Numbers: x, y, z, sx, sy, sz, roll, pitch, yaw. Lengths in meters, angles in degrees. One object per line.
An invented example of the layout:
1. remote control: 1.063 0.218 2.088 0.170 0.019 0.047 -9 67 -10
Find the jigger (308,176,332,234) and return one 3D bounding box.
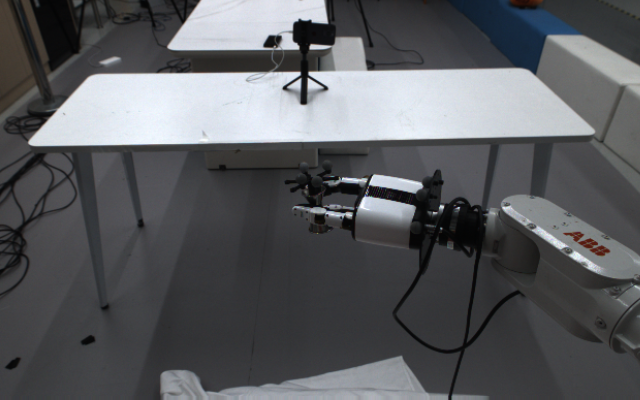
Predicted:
1. jigger: -0.002 0.012 0.782 0.043 0.071 0.043 -10 24 5
